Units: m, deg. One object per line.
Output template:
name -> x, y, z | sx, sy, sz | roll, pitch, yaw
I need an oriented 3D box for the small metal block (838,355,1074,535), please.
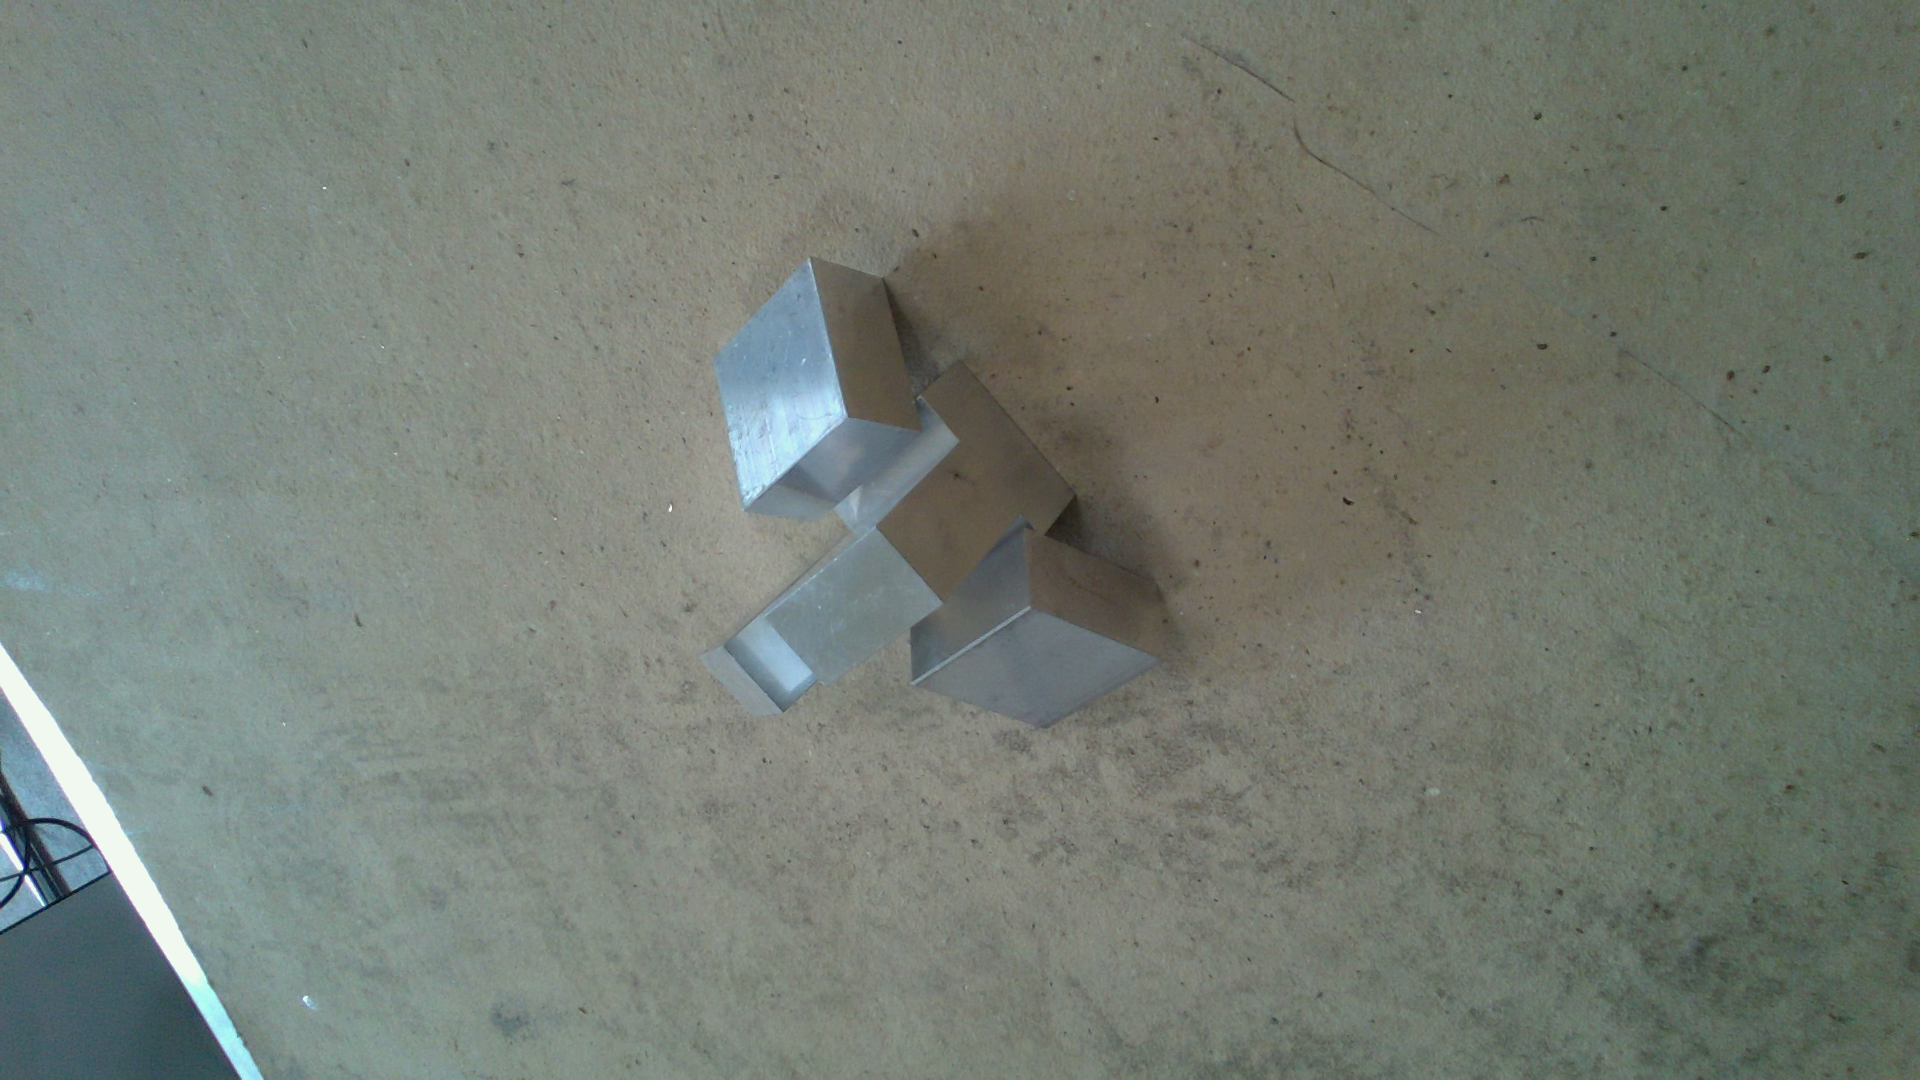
small metal block -> -0.005, -0.015, 0.388 | 0.050, 0.025, 0.050 | 49, 131, -6

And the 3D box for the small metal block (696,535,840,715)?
small metal block -> -0.048, 0.025, 0.407 | 0.025, 0.050, 0.050 | 49, 161, -7

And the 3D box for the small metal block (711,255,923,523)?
small metal block -> -0.040, -0.040, 0.374 | 0.050, 0.025, 0.050 | -36, 58, 39

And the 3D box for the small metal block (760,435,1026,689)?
small metal block -> -0.017, 0.005, 0.357 | 0.025, 0.050, 0.050 | 48, 129, -6

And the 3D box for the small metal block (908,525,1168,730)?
small metal block -> 0.021, 0.026, 0.382 | 0.050, 0.025, 0.050 | 22, 138, -33
